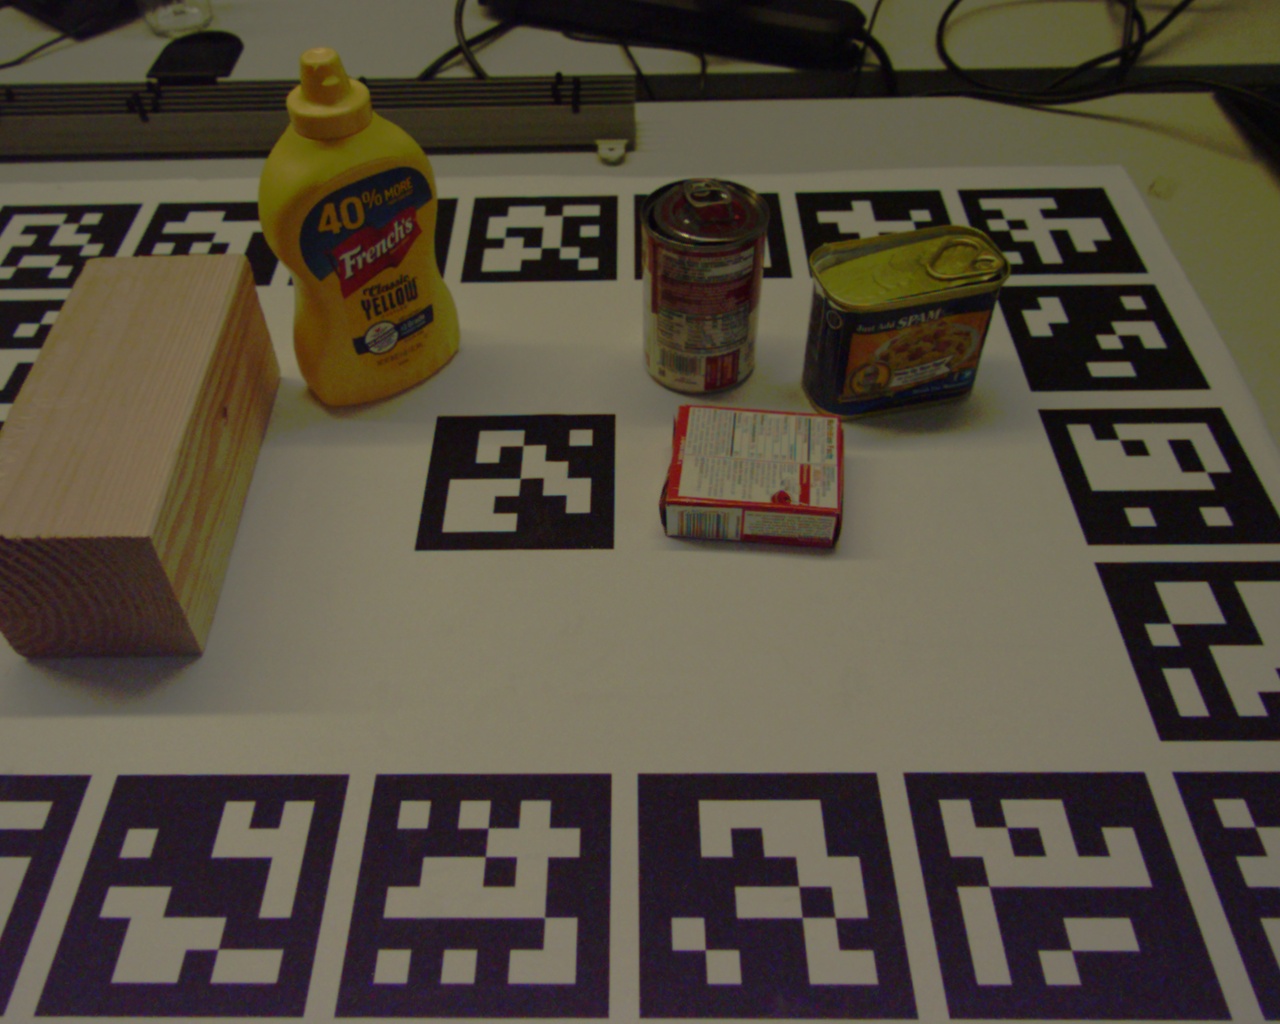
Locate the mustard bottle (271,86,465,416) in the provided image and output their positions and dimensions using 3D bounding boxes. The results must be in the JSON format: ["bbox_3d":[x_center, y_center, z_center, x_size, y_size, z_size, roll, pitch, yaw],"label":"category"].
[{"bbox_3d":[-0.154,-0.145,0.642,0.095,0.191,0.059,-20,50,-19],"label":"mustard bottle"}]

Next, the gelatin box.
[{"bbox_3d":[0.064,-0.020,0.619,0.090,0.030,0.073,5,50,9],"label":"gelatin box"}]

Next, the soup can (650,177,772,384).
[{"bbox_3d":[0.040,-0.134,0.668,0.068,0.101,0.068,-1,49,0],"label":"soup can"}]

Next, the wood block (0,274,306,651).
[{"bbox_3d":[-0.250,-0.034,0.605,0.091,0.089,0.207,0,44,-1],"label":"wood block"}]

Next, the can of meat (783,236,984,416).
[{"bbox_3d":[0.138,-0.106,0.666,0.101,0.083,0.058,-10,49,-12],"label":"can of meat"}]
